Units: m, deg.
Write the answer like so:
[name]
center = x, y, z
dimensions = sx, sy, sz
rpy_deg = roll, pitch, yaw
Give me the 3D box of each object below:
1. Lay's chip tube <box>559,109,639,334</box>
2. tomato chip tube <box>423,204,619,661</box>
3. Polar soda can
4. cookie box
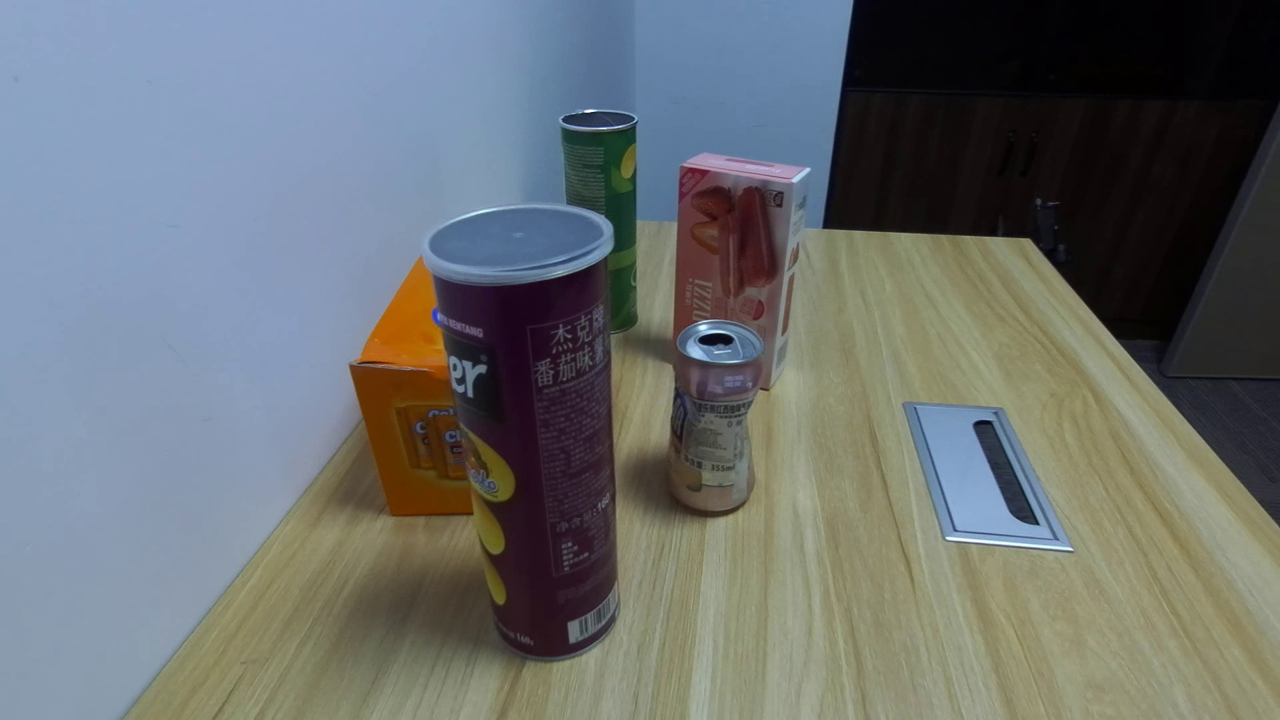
[Lay's chip tube]
center = -0.036, -0.129, 0.676
dimensions = 0.071, 0.203, 0.071
rpy_deg = 0, 32, 0
[tomato chip tube]
center = -0.050, 0.050, 0.364
dimensions = 0.078, 0.234, 0.078
rpy_deg = -1, 30, 1
[Polar soda can]
center = 0.052, 0.039, 0.481
dimensions = 0.067, 0.122, 0.074
rpy_deg = 27, 41, 37
[cookie box]
center = 0.082, -0.073, 0.599
dimensions = 0.096, 0.185, 0.048
rpy_deg = 14, 33, 22
